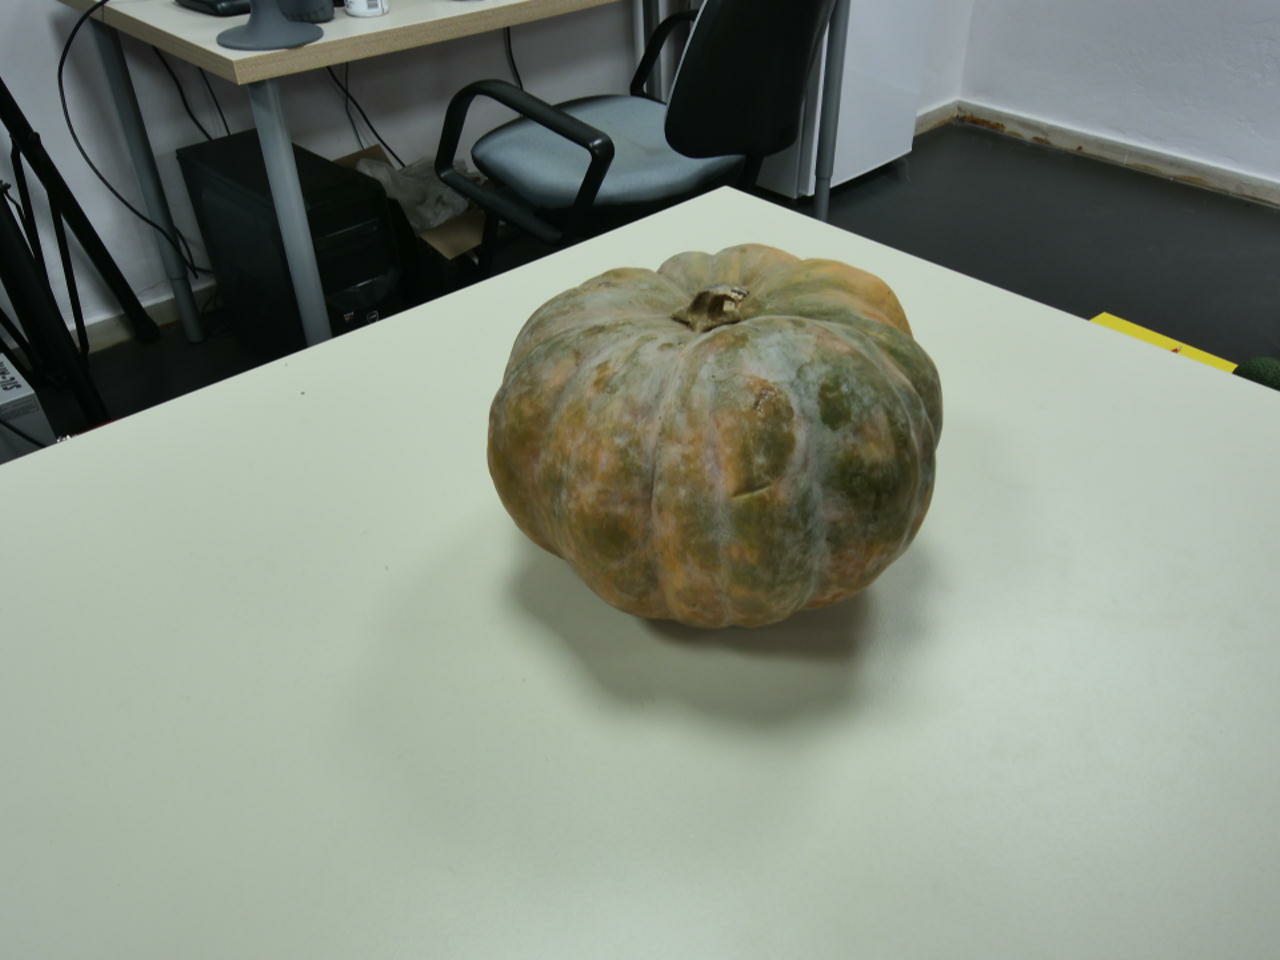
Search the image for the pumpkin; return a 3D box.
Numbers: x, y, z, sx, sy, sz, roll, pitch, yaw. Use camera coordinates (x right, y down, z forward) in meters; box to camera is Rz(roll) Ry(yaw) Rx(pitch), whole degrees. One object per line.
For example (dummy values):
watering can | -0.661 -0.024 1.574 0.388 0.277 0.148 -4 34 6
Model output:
pumpkin | 0.040 -0.031 0.545 0.252 0.169 0.251 0 37 0
